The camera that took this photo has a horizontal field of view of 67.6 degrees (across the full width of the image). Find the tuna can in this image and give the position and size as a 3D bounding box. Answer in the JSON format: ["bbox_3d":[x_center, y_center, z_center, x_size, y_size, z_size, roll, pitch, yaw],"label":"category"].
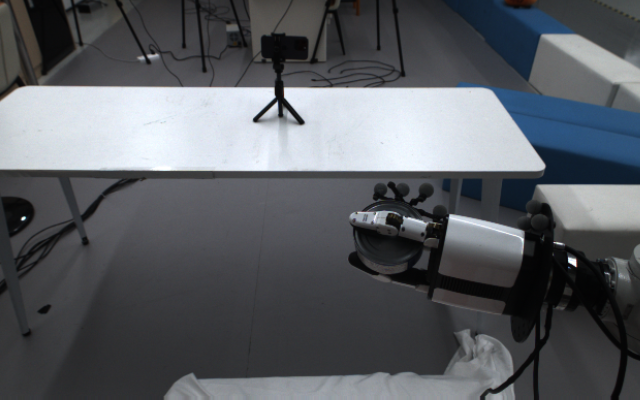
[{"bbox_3d":[0.084,0.040,0.580,0.085,0.034,0.085,-4,55,6],"label":"tuna can"}]
